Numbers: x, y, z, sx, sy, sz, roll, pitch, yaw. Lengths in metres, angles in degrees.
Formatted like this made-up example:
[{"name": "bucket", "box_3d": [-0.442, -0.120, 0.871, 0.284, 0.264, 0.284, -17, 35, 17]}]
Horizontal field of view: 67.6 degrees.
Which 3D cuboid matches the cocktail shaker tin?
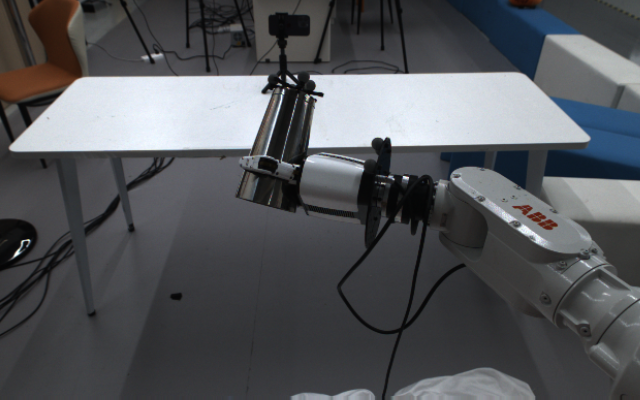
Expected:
[{"name": "cocktail shaker tin", "box_3d": [-0.060, -0.075, 0.717, 0.093, 0.170, 0.093, 14, -4, 1]}]
